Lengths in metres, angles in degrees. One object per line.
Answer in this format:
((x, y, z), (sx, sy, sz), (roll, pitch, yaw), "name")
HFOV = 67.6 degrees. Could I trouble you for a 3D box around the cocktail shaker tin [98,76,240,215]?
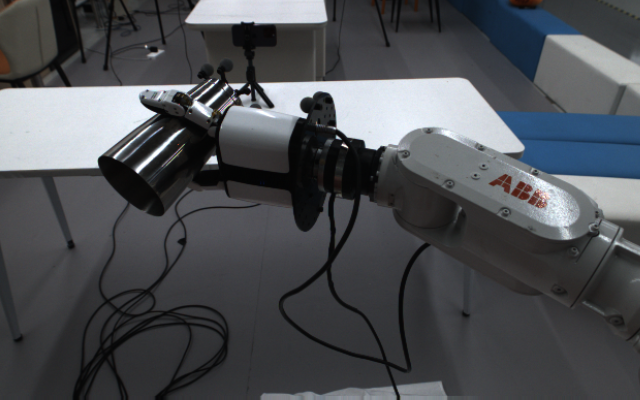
((-0.166, -0.076, 0.579), (0.093, 0.093, 0.170), (19, 55, 23), "cocktail shaker tin")
